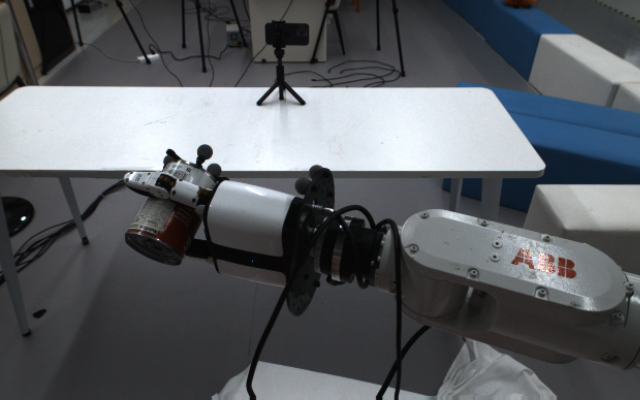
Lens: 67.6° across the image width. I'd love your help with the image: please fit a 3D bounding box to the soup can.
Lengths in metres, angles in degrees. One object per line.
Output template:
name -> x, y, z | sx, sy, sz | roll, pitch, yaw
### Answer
soup can -> -0.165, 0.014, 0.549 | 0.067, 0.067, 0.101 | 12, 59, 14
